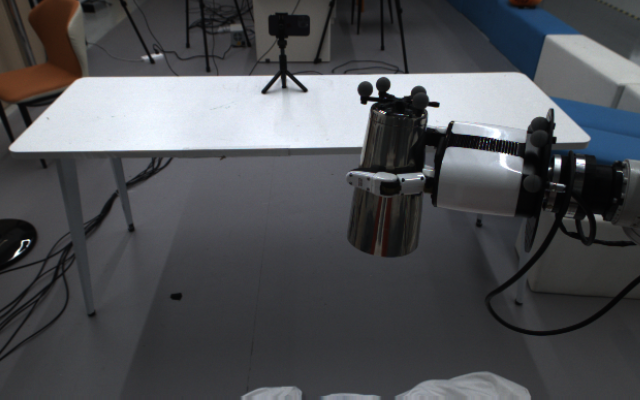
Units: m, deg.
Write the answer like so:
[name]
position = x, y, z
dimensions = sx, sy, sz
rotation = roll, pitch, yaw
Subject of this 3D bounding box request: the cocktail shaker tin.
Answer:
[cocktail shaker tin]
position = 0.086, -0.028, 0.587
dimensions = 0.093, 0.170, 0.093
rotation = 3, 26, -1
